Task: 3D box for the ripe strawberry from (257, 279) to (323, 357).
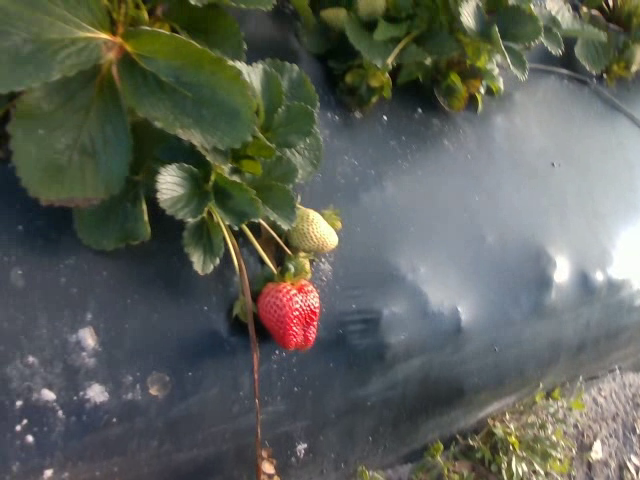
[{"bbox_3d":[-0.015,0.049,0.463,0.047,0.050,0.034,-9,-1,-31],"label":"ripe strawberry"}]
